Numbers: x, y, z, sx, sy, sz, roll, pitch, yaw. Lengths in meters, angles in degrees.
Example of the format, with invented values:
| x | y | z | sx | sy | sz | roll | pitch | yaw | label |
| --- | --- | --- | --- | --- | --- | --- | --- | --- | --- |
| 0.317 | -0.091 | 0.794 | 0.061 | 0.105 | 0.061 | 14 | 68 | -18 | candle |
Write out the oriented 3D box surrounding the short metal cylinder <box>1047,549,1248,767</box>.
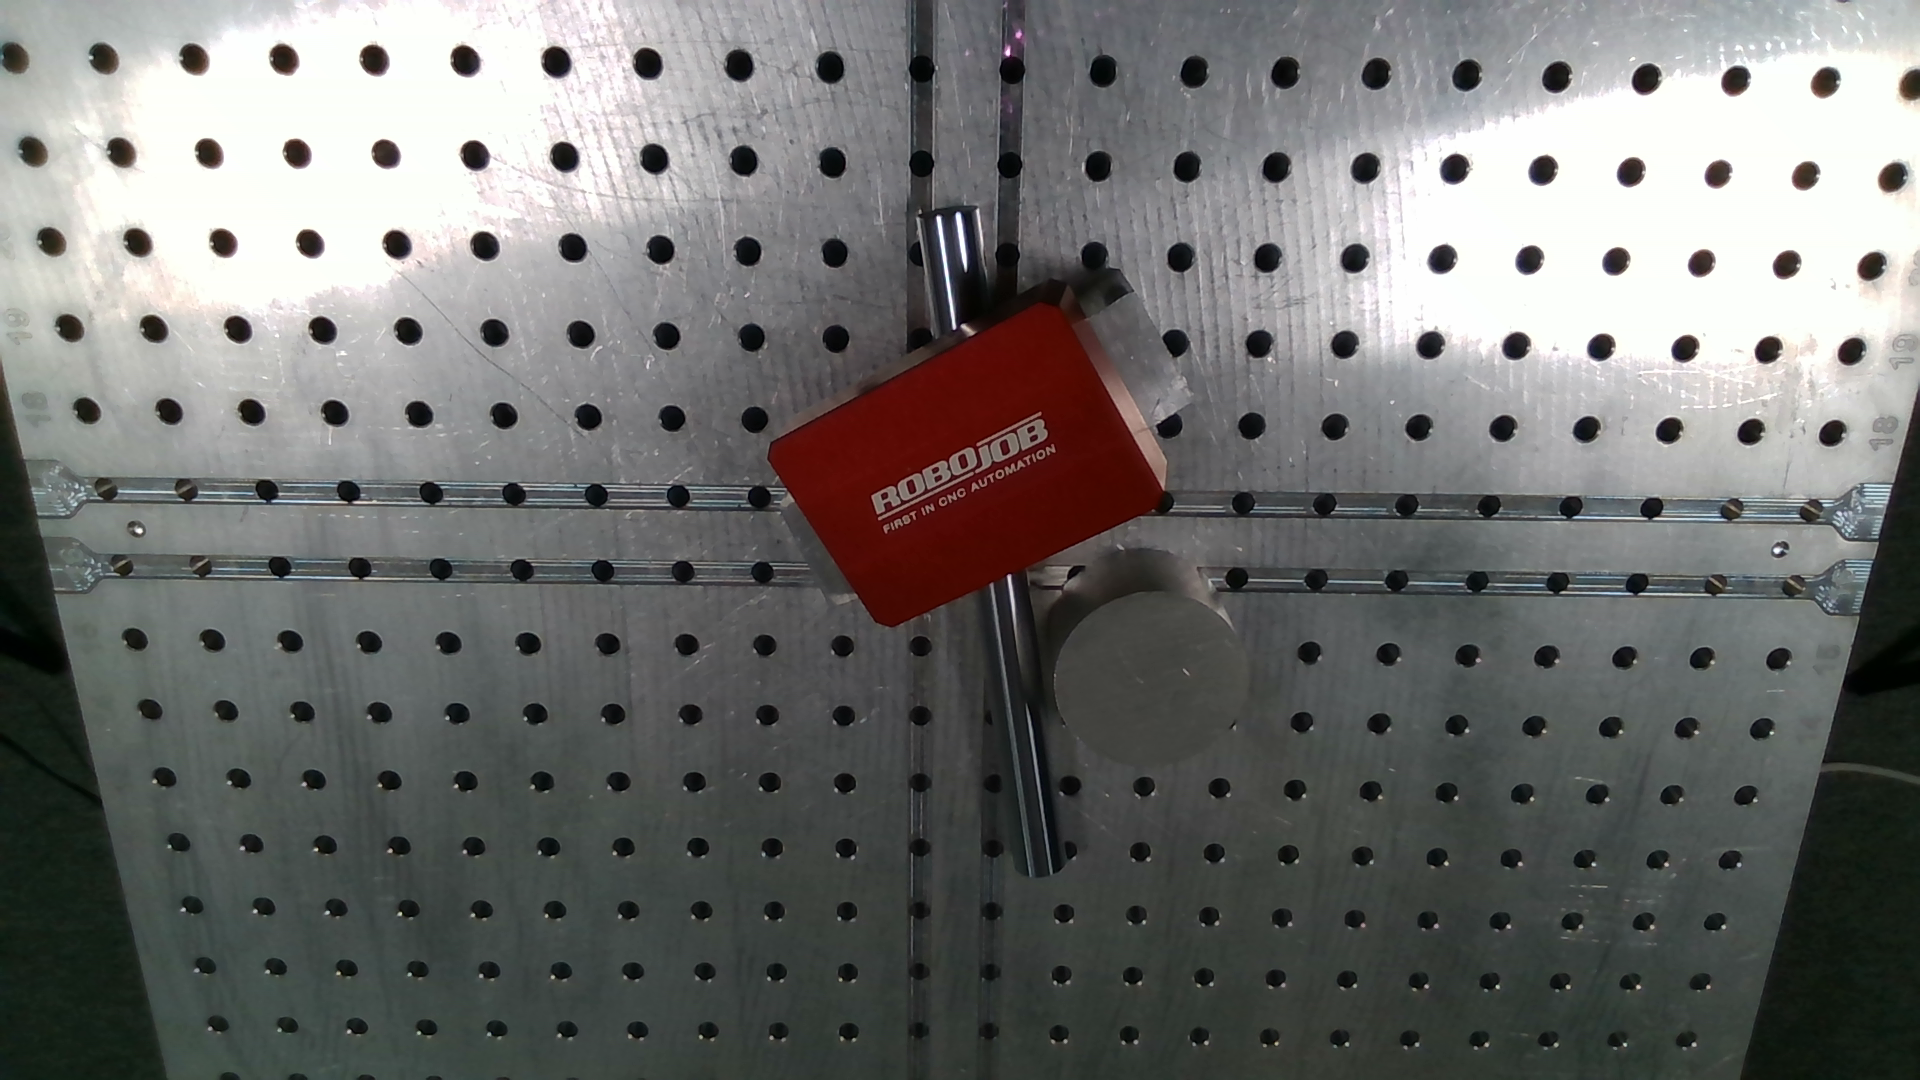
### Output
| x | y | z | sx | sy | sz | roll | pitch | yaw | label |
| --- | --- | --- | --- | --- | --- | --- | --- | --- | --- |
| 0.079 | 0.050 | 0.592 | 0.080 | 0.050 | 0.080 | 0 | 110 | 0 | short metal cylinder |

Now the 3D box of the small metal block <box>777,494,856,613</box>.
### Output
| x | y | z | sx | sy | sz | roll | pitch | yaw | label |
| --- | --- | --- | --- | --- | --- | --- | --- | --- | --- |
| -0.043 | -0.004 | 0.584 | 0.050 | 0.025 | 0.050 | -22 | 109 | 8 | small metal block |

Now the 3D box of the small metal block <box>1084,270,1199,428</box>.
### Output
| x | y | z | sx | sy | sz | roll | pitch | yaw | label |
| --- | --- | --- | --- | --- | --- | --- | --- | --- | --- |
| 0.068 | -0.075 | 0.545 | 0.025 | 0.050 | 0.050 | -30 | 107 | 11 | small metal block |

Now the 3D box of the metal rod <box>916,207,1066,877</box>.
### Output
| x | y | z | sx | sy | sz | roll | pitch | yaw | label |
| --- | --- | --- | --- | --- | --- | --- | --- | --- | --- |
| 0.016 | 0.011 | 0.591 | 0.025 | 0.025 | 0.301 | -8 | 110 | 3 | metal rod |

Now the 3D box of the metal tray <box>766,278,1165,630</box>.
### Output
| x | y | z | sx | sy | sz | roll | pitch | yaw | label |
| --- | --- | --- | --- | --- | --- | --- | --- | --- | --- |
| 0.003 | -0.030 | 0.532 | 0.130 | 0.030 | 0.090 | -25 | 108 | 21 | metal tray |
